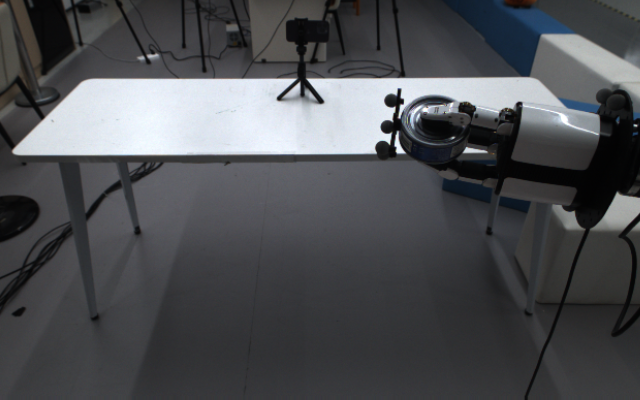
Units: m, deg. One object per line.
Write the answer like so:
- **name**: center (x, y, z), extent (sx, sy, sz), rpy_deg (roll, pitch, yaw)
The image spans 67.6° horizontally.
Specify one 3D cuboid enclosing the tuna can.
- **tuna can**: center (0.142, -0.091, 0.600), extent (0.085, 0.034, 0.085), rpy_deg (-2, 57, 2)
